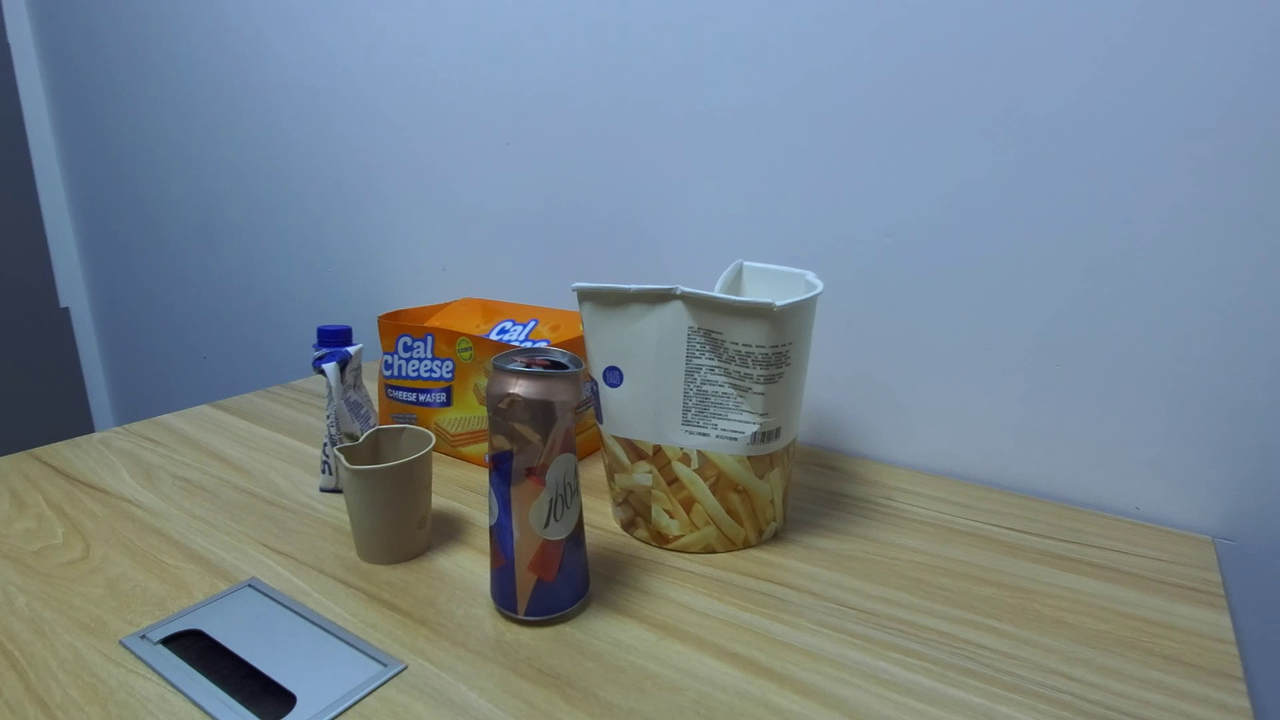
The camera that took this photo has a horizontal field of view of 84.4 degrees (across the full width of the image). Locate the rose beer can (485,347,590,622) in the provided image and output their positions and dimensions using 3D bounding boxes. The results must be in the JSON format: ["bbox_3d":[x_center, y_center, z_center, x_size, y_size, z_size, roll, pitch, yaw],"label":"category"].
[{"bbox_3d":[-0.063,0.080,0.448,0.065,0.167,0.076,9,16,22],"label":"rose beer can"}]

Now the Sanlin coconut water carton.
[{"bbox_3d":[-0.263,0.045,0.613,0.057,0.145,0.068,-5,23,6],"label":"Sanlin coconut water carton"}]

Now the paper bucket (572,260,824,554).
[{"bbox_3d":[0.054,0.027,0.571,0.168,0.202,0.163,10,17,23],"label":"paper bucket"}]

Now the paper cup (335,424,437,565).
[{"bbox_3d":[-0.184,0.100,0.521,0.069,0.081,0.073,-11,19,-36],"label":"paper cup"}]

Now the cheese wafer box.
[{"bbox_3d":[-0.150,0.020,0.732,0.229,0.132,0.153,11,20,30],"label":"cheese wafer box"}]
